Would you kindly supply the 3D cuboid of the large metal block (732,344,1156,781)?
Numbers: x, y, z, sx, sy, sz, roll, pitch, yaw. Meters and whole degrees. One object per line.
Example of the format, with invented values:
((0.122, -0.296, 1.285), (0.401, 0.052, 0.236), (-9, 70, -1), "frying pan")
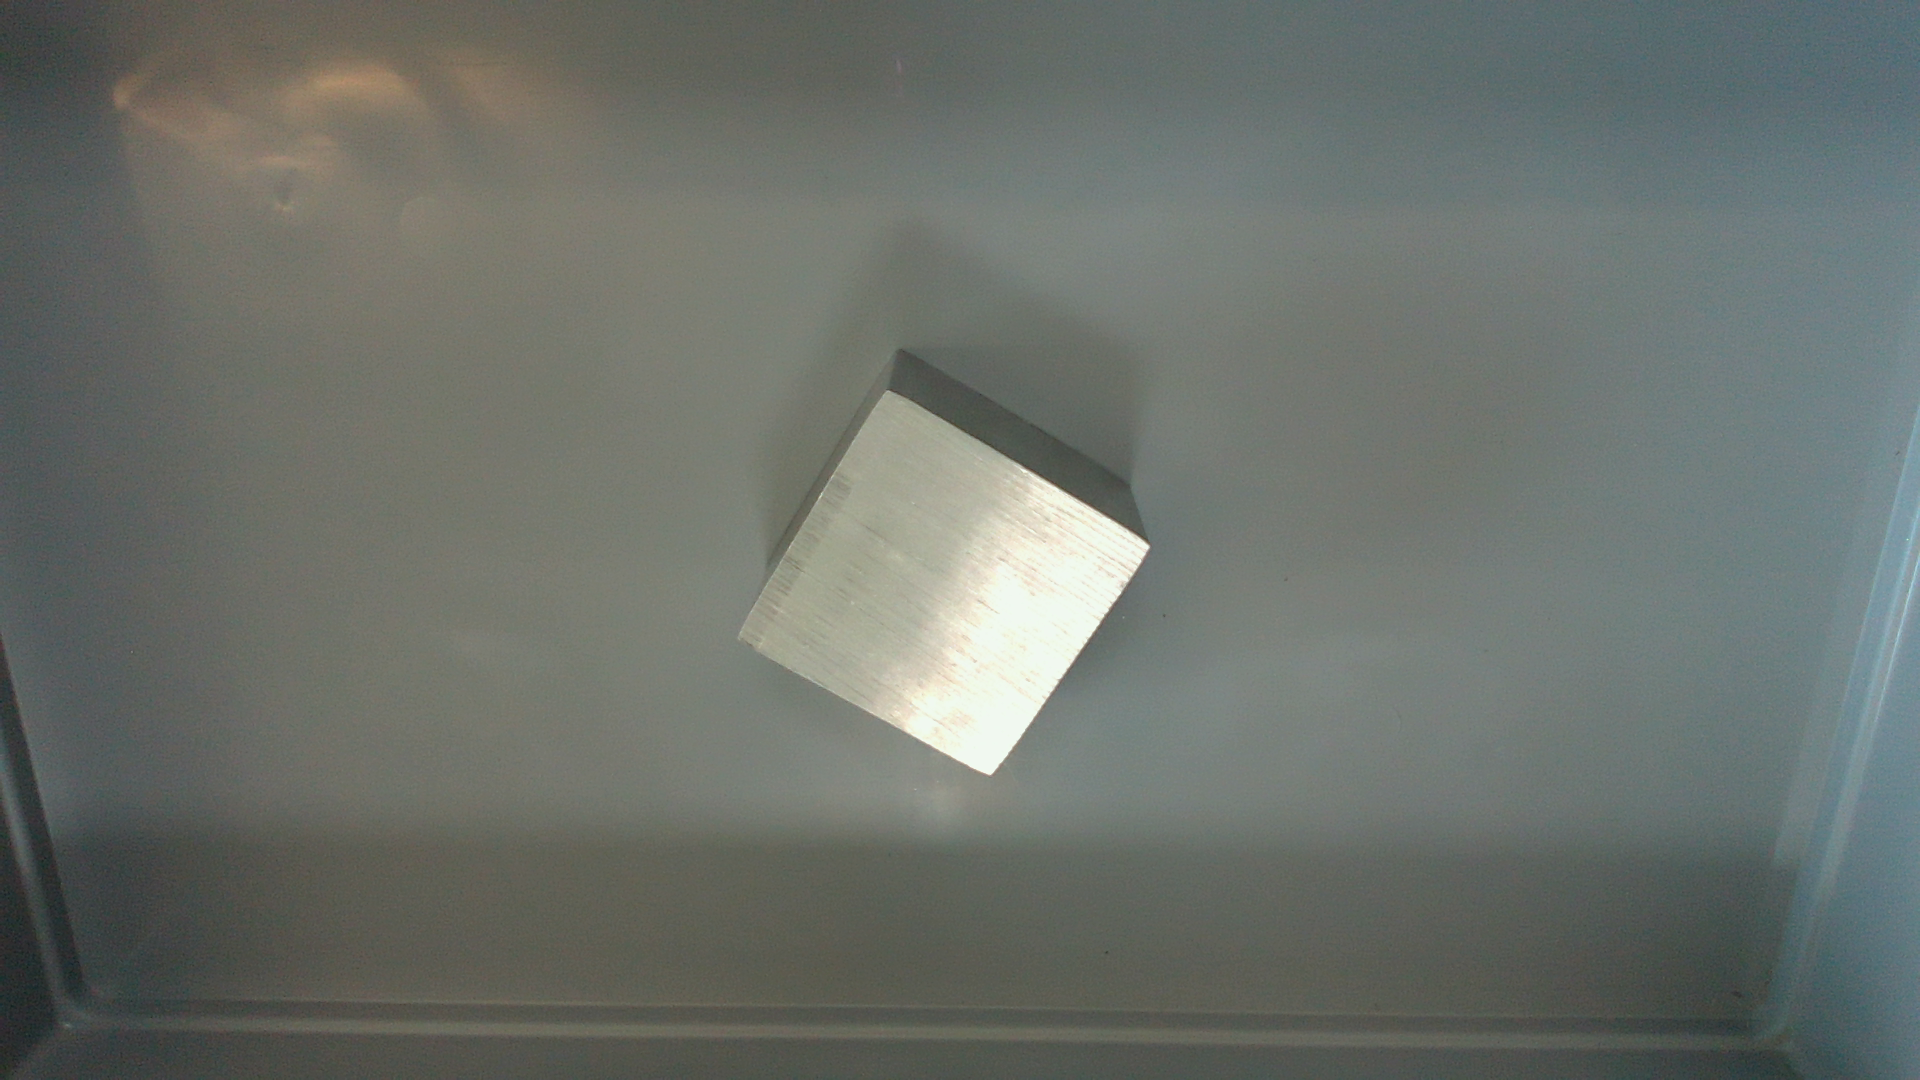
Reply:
((-0.005, 0.005, 0.379), (0.080, 0.050, 0.080), (30, 107, -11), "large metal block")
